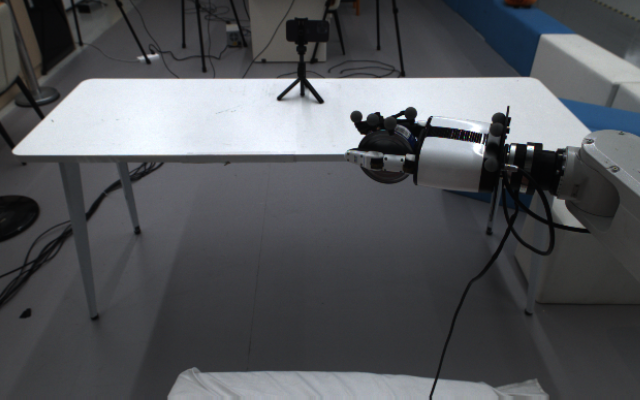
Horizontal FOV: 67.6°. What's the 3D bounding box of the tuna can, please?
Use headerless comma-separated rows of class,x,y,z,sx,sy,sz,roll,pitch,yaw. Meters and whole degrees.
tuna can,0.103,-0.065,0.706,0.085,0.085,0.034,15,35,17
